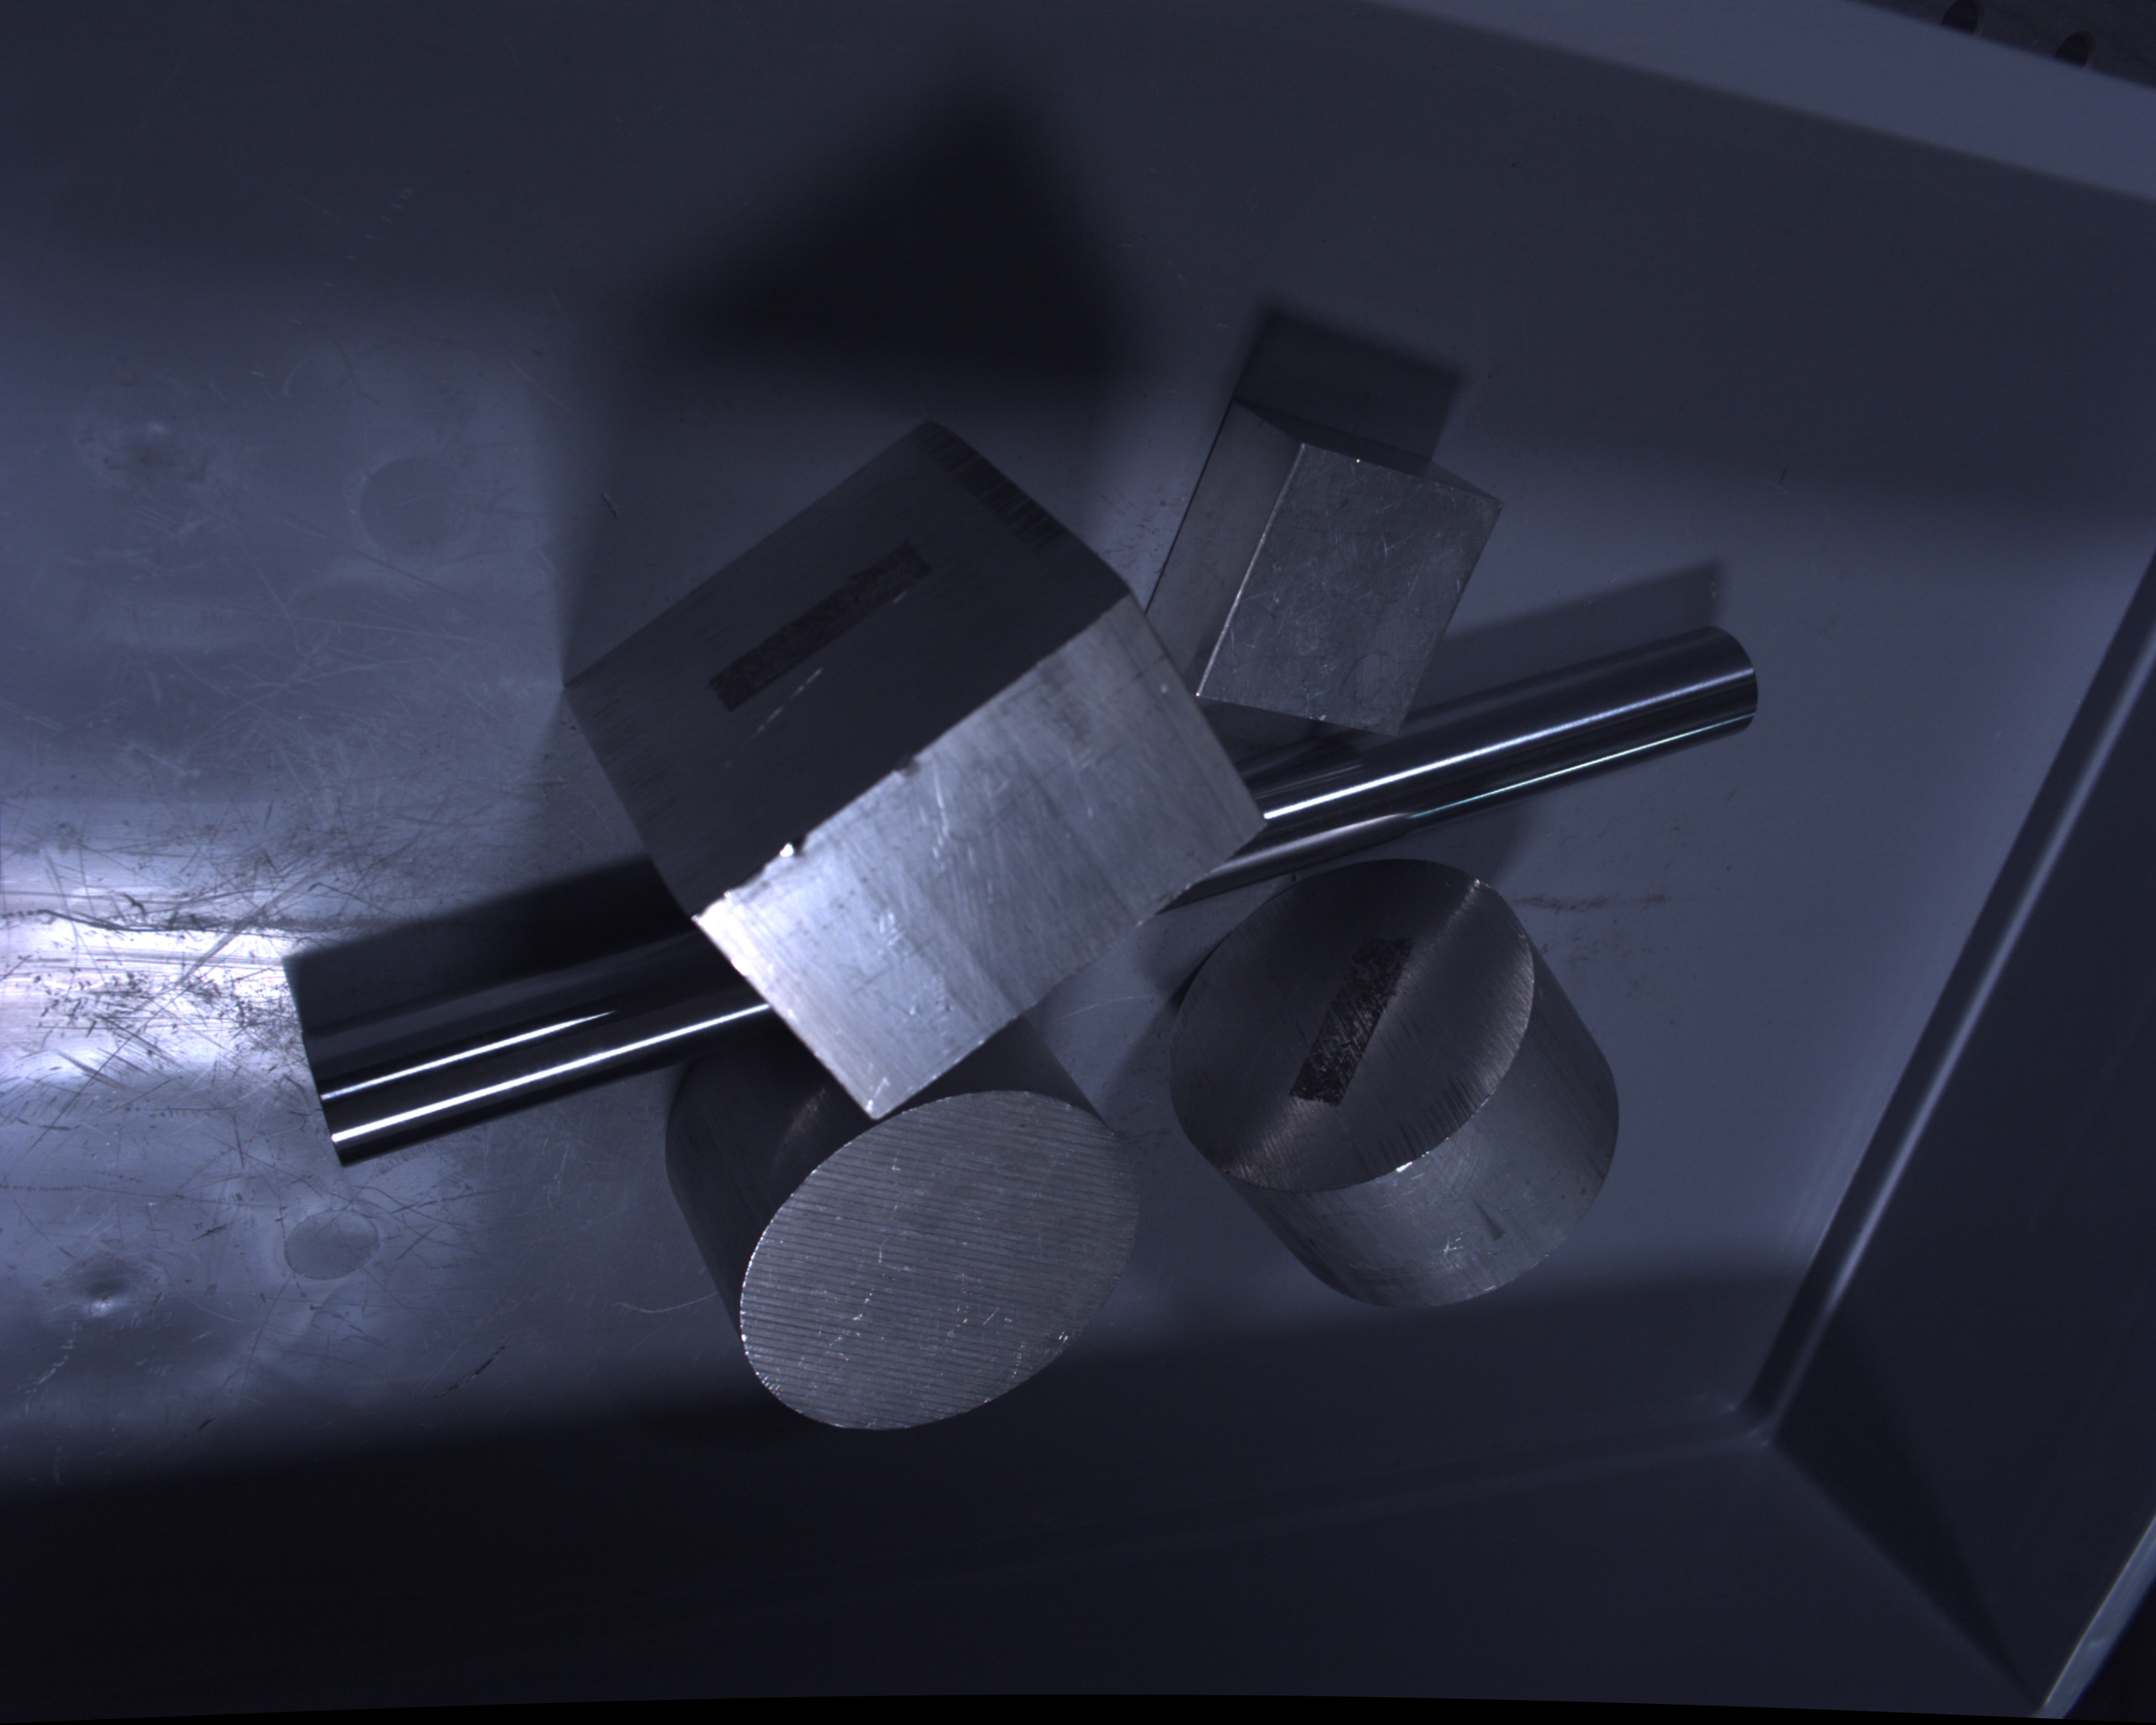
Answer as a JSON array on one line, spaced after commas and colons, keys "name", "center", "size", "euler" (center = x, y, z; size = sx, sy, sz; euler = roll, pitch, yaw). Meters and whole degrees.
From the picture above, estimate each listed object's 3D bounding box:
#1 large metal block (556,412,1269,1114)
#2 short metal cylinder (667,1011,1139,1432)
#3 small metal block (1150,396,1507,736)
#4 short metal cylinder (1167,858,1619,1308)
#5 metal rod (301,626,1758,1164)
[{"name": "large metal block", "center": [-0.029, -0.019, 0.345], "size": [0.080, 0.080, 0.050], "euler": [-37, 130, -4]}, {"name": "short metal cylinder", "center": [-0.035, 0.065, 0.412], "size": [0.081, 0.050, 0.079], "euler": [-14, 125, -21]}, {"name": "small metal block", "center": [0.046, -0.056, 0.399], "size": [0.050, 0.025, 0.050], "euler": [9, 114, -33]}, {"name": "short metal cylinder", "center": [0.066, 0.046, 0.438], "size": [0.080, 0.080, 0.050], "euler": [-40, 130, -1]}, {"name": "metal rod", "center": [0.006, 0.000, 0.412], "size": [0.302, 0.025, 0.025], "euler": [-16, 125, -20]}]
